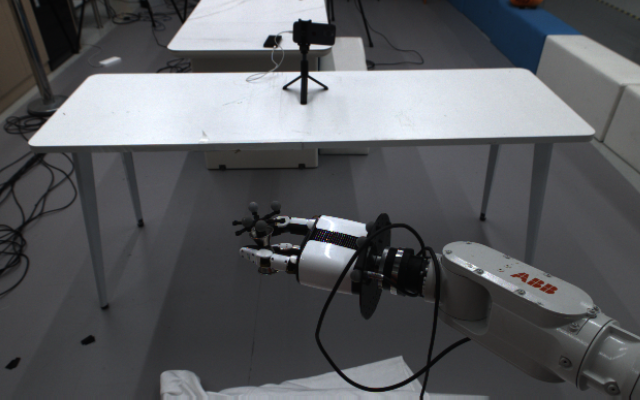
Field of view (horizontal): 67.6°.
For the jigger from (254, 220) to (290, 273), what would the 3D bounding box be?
[{"bbox_3d":[-0.084,0.077,0.778,0.043,0.071,0.043,-10,24,5],"label":"jigger"}]
